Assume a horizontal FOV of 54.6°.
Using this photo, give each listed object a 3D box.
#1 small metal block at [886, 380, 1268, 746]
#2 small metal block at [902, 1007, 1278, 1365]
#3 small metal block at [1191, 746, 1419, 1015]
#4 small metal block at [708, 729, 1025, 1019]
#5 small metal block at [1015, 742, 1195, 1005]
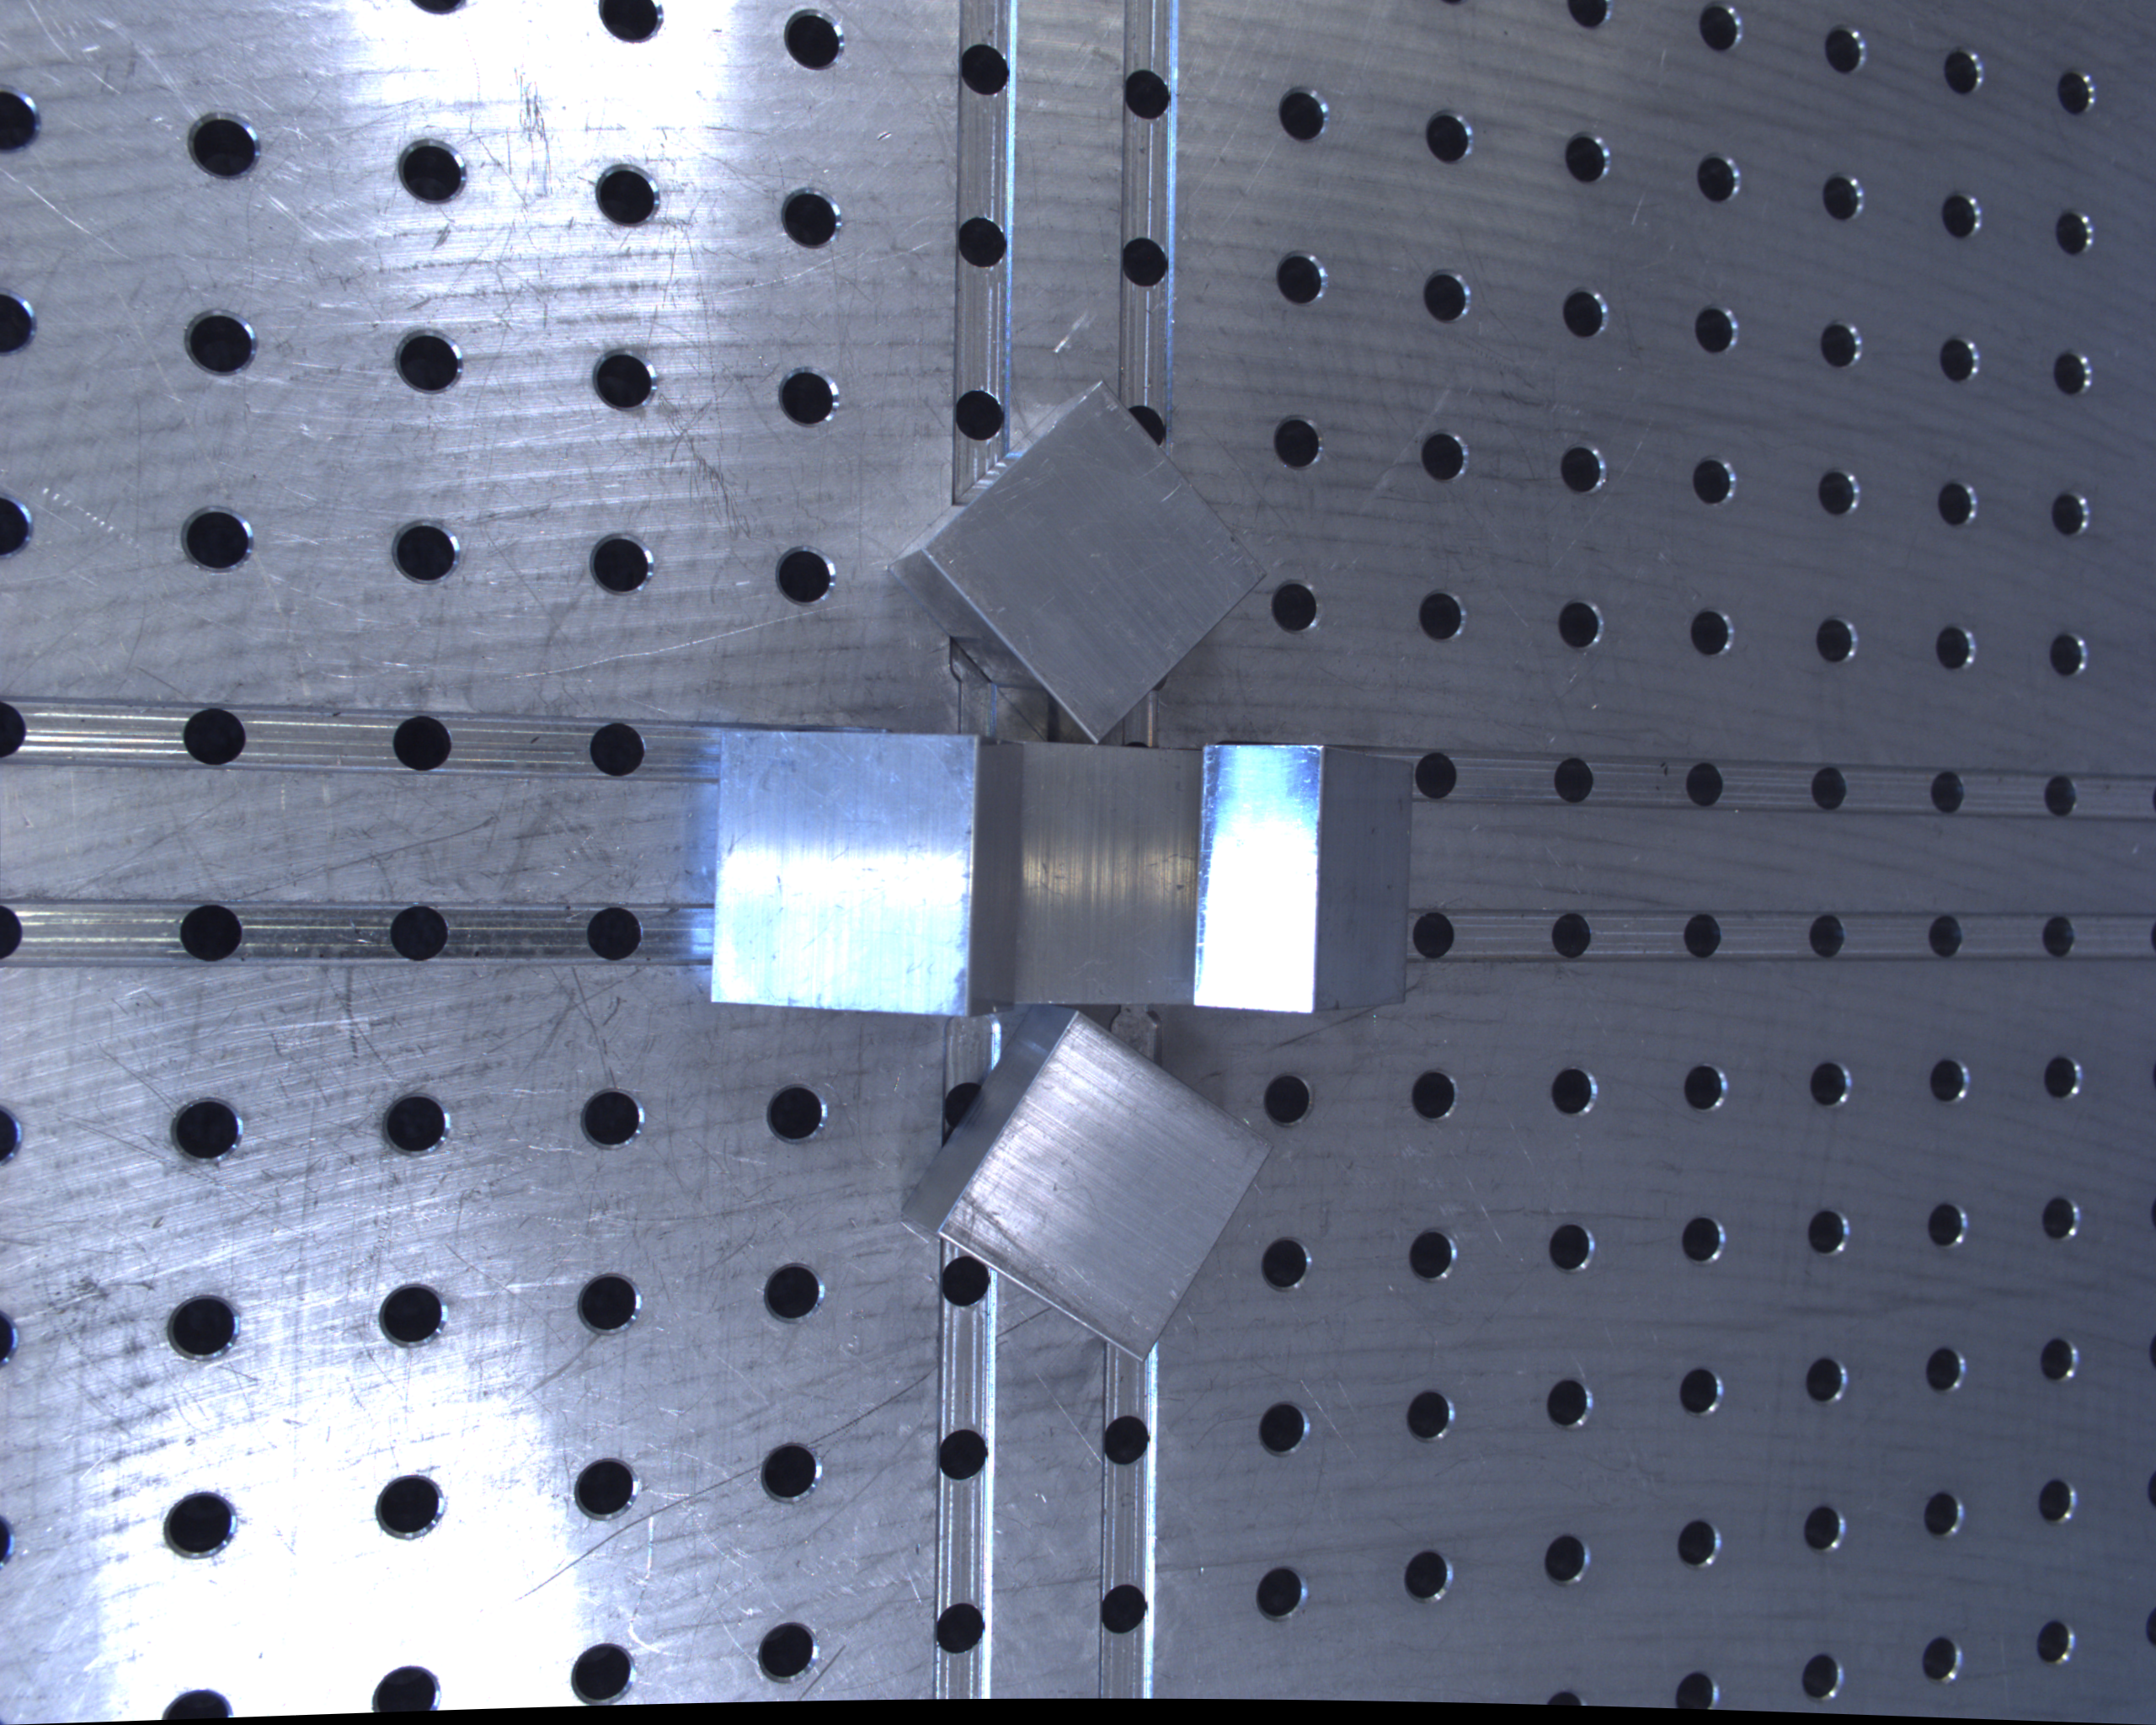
[{"bbox_3d":[0.000,-0.057,0.412,0.050,0.025,0.050,-46,104,-15],"label":"small metal block"},{"bbox_3d":[0.002,0.062,0.413,0.050,0.025,0.050,36,79,-15],"label":"small metal block"},{"bbox_3d":[0.046,0.004,0.415,0.050,0.025,0.050,4,88,-60],"label":"small metal block"},{"bbox_3d":[-0.039,0.002,0.385,0.050,0.025,0.050,2,90,16],"label":"small metal block"},{"bbox_3d":[0.001,0.002,0.412,0.050,0.025,0.050,1,89,-20],"label":"small metal block"}]
